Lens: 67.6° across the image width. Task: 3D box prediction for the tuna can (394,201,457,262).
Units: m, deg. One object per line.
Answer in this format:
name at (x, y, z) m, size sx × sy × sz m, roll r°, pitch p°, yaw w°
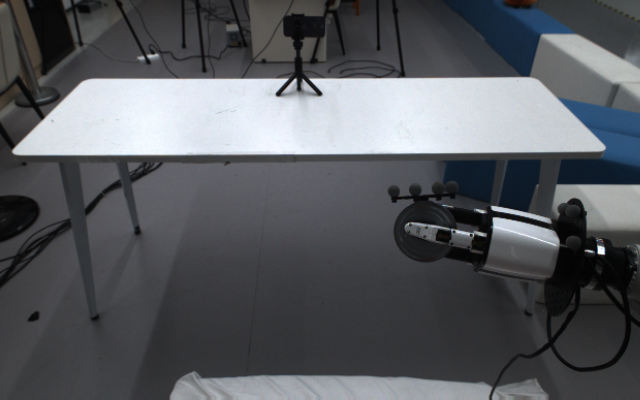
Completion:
tuna can at (0.149, 0.042, 0.680) m, size 0.085 × 0.085 × 0.034 m, roll 11°, pitch 2°, yaw 12°
